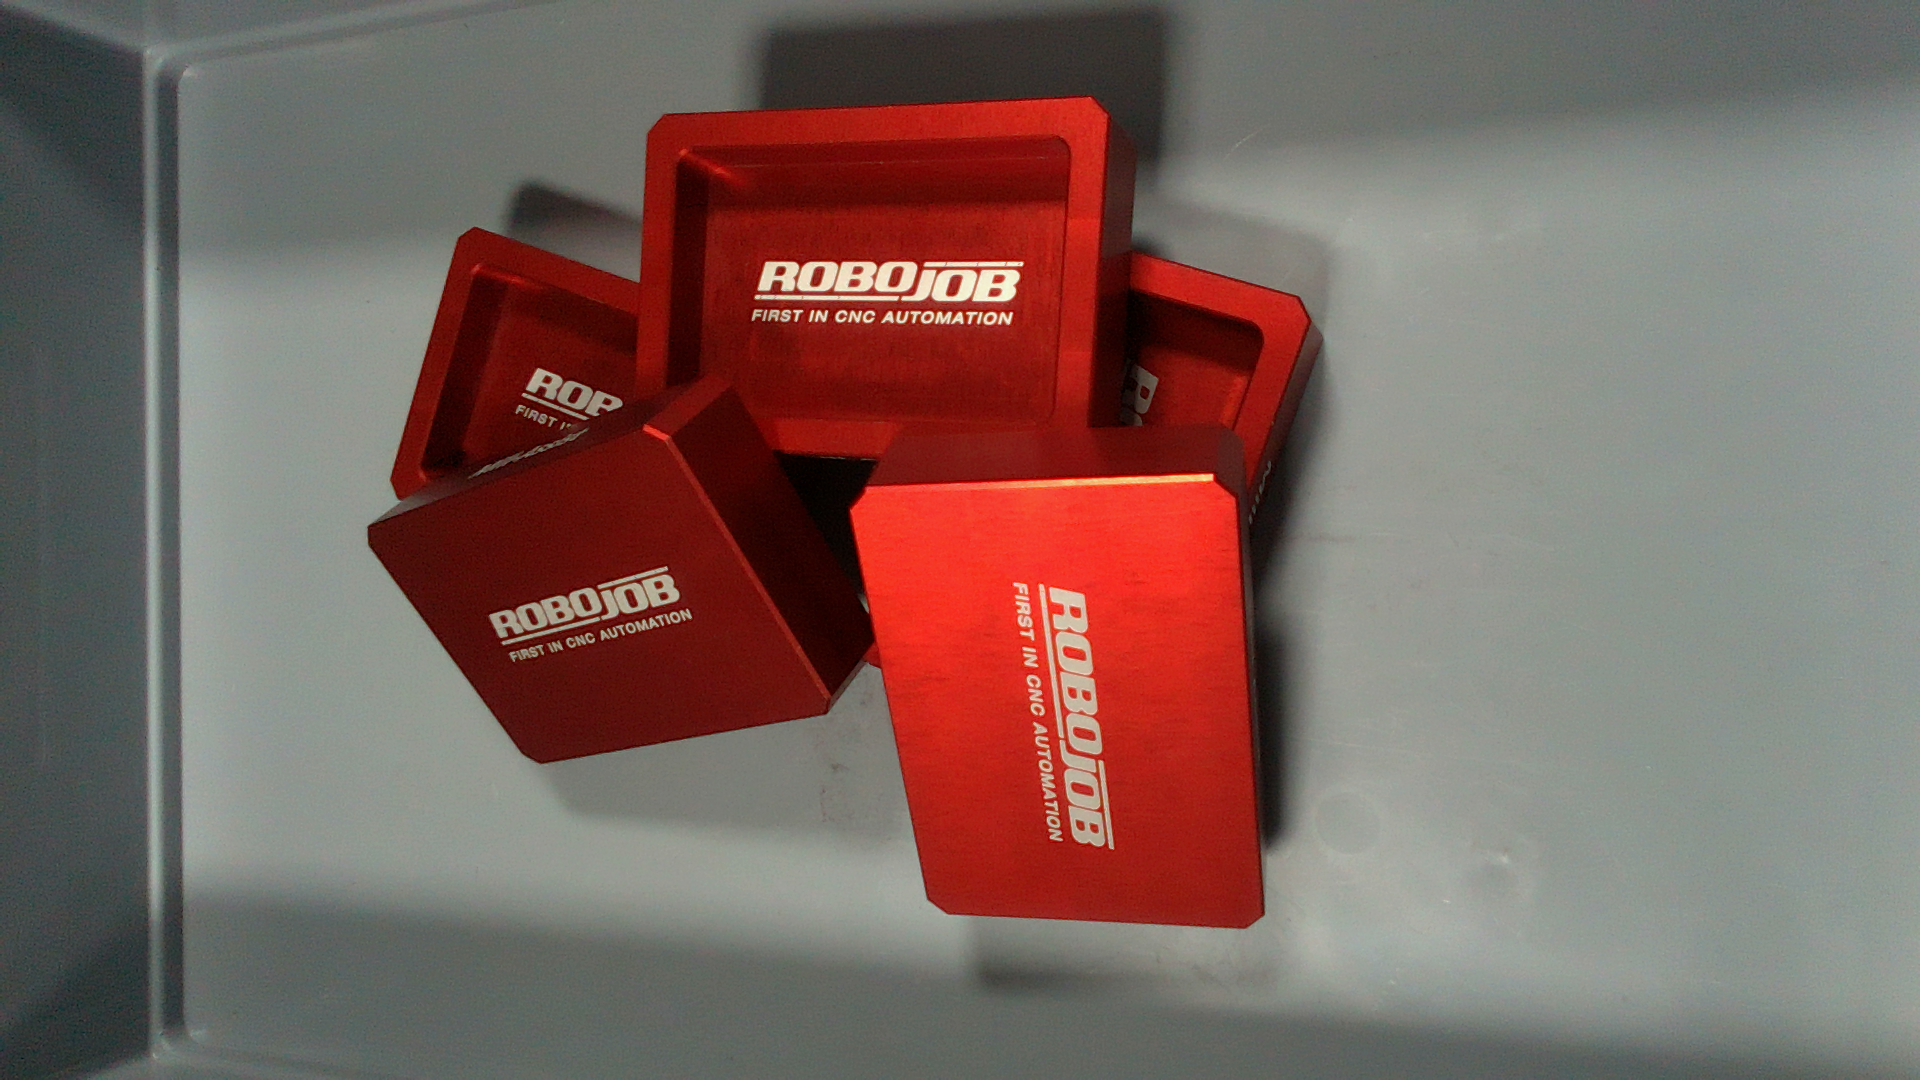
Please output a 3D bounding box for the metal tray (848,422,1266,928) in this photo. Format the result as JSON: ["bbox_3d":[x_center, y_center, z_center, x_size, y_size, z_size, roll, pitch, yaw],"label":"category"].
[{"bbox_3d":[0.029,0.037,0.347,0.090,0.030,0.130,-2,118,14],"label":"metal tray"}]

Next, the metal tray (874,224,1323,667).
[{"bbox_3d":[0.035,-0.013,0.379,0.090,0.030,0.130,20,97,19],"label":"metal tray"}]

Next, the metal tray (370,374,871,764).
[{"bbox_3d":[-0.098,0.014,0.391,0.129,0.030,0.090,-14,115,35],"label":"metal tray"}]

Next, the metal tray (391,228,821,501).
[{"bbox_3d":[-0.108,-0.035,0.429,0.130,0.030,0.090,21,97,19],"label":"metal tray"}]

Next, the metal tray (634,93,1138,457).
[{"bbox_3d":[-0.022,-0.067,0.367,0.130,0.030,0.090,4,91,20],"label":"metal tray"}]
